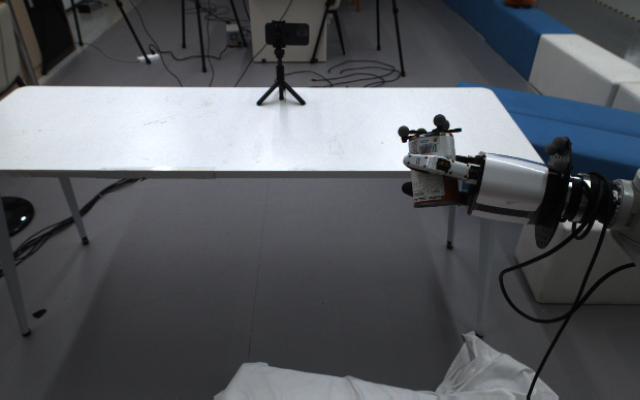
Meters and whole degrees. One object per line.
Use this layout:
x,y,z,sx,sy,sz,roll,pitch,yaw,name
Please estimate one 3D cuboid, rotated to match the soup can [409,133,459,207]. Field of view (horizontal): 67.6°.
0.168,-0.043,0.713,0.067,0.101,0.067,-5,-5,0,soup can
